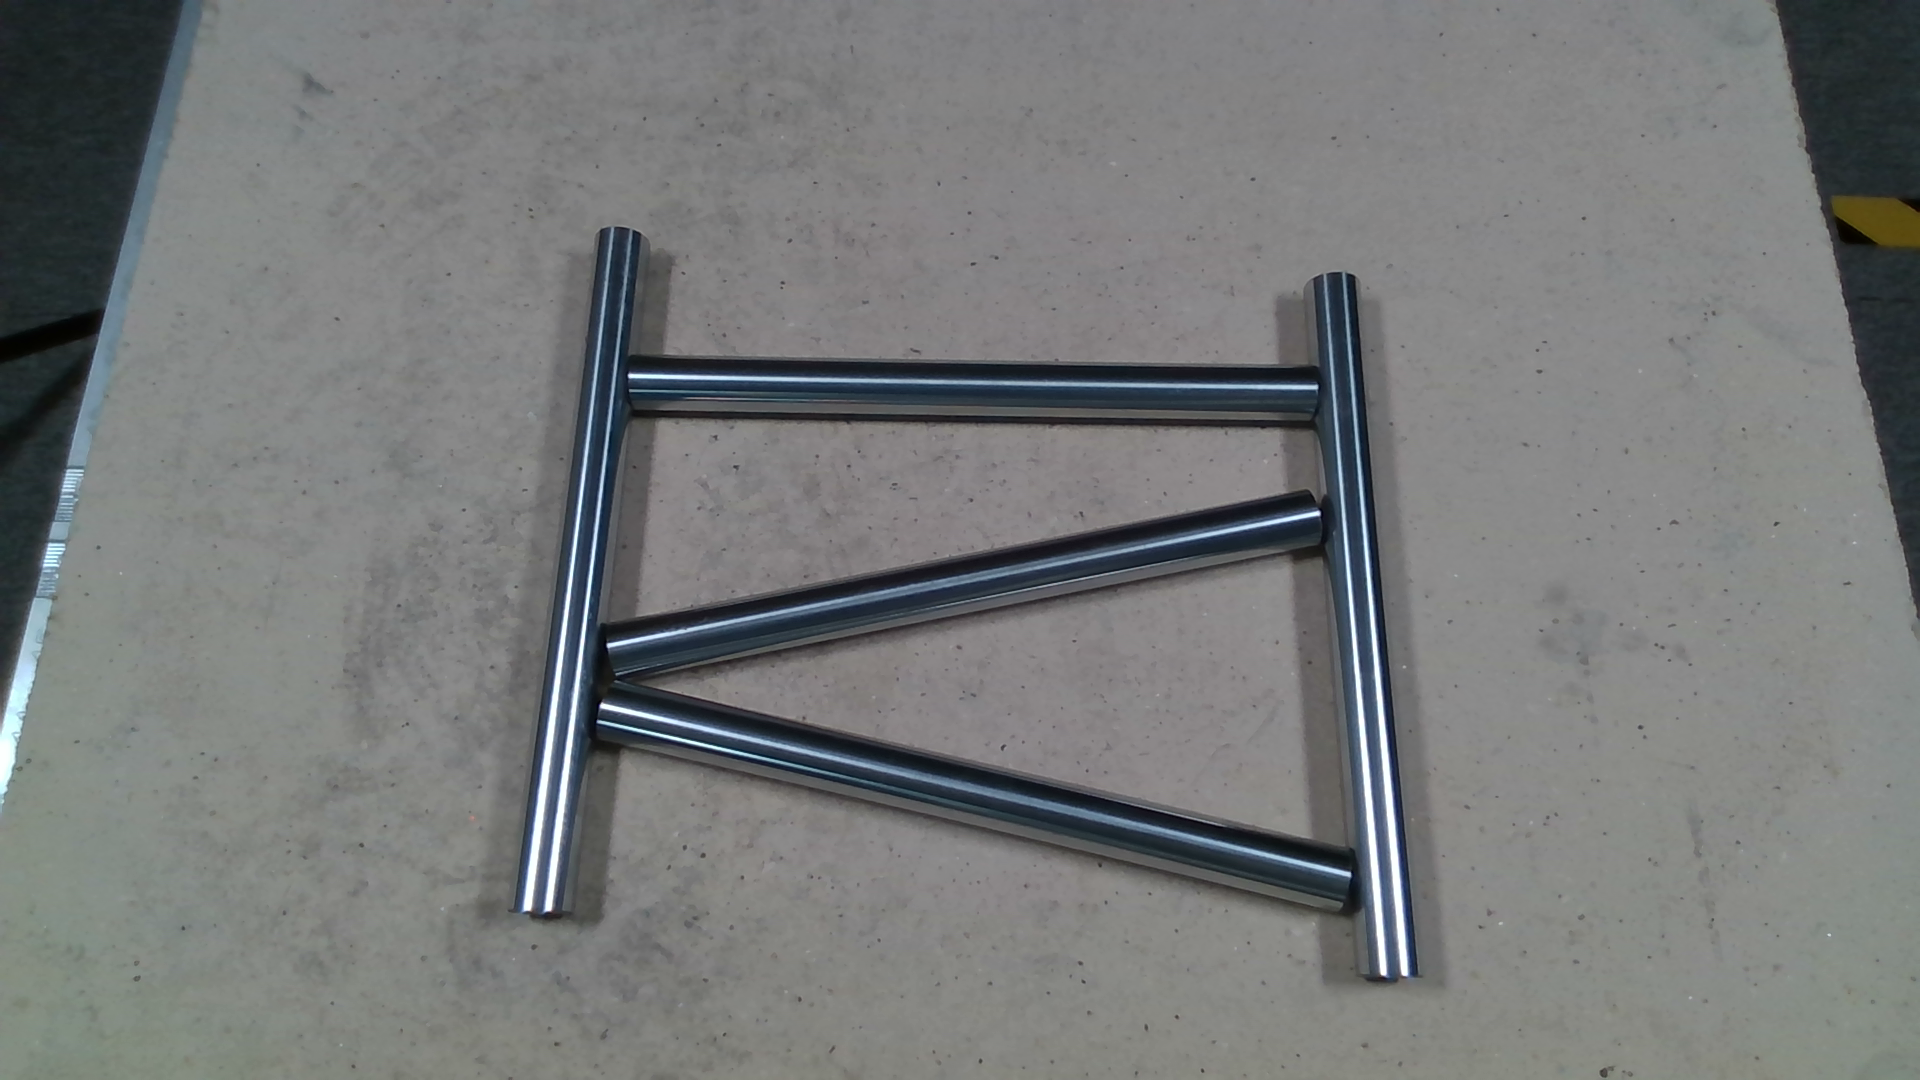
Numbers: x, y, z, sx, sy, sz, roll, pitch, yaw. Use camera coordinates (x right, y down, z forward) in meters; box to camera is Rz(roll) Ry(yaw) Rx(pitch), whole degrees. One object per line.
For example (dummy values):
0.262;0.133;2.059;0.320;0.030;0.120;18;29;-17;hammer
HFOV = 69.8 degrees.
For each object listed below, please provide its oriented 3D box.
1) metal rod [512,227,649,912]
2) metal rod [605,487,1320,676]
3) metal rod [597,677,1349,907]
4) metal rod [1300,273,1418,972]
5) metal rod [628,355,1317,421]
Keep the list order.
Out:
-0.159;0.003;0.586;0.025;0.025;0.299;1;70;0;metal rod
0.003;0.018;0.581;0.300;0.025;0.025;-11;71;-4;metal rod
0.003;0.100;0.552;0.300;0.025;0.025;12;71;4;metal rod
0.165;0.025;0.579;0.025;0.025;0.299;1;70;0;metal rod
0.005;-0.068;0.612;0.300;0.025;0.025;1;70;0;metal rod
